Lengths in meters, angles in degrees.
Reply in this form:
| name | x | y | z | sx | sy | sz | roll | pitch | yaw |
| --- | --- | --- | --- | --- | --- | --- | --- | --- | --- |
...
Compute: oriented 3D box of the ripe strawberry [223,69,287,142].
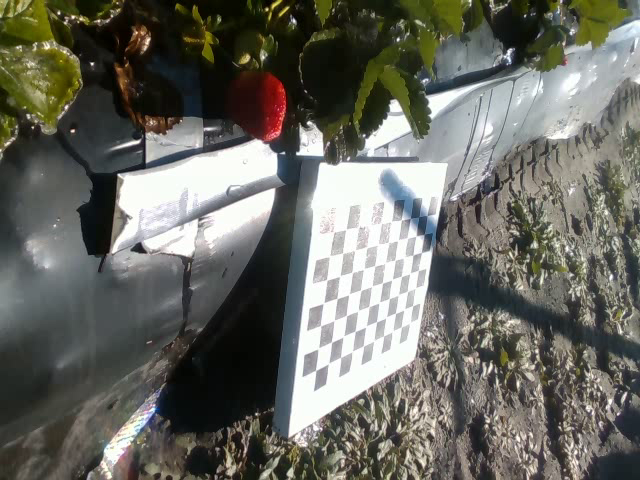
| name | x | y | z | sx | sy | sz | roll | pitch | yaw |
| --- | --- | --- | --- | --- | --- | --- | --- | --- | --- |
| ripe strawberry | -0.046 | -0.101 | 0.471 | 0.057 | 0.065 | 0.062 | -27 | -33 | 11 |
